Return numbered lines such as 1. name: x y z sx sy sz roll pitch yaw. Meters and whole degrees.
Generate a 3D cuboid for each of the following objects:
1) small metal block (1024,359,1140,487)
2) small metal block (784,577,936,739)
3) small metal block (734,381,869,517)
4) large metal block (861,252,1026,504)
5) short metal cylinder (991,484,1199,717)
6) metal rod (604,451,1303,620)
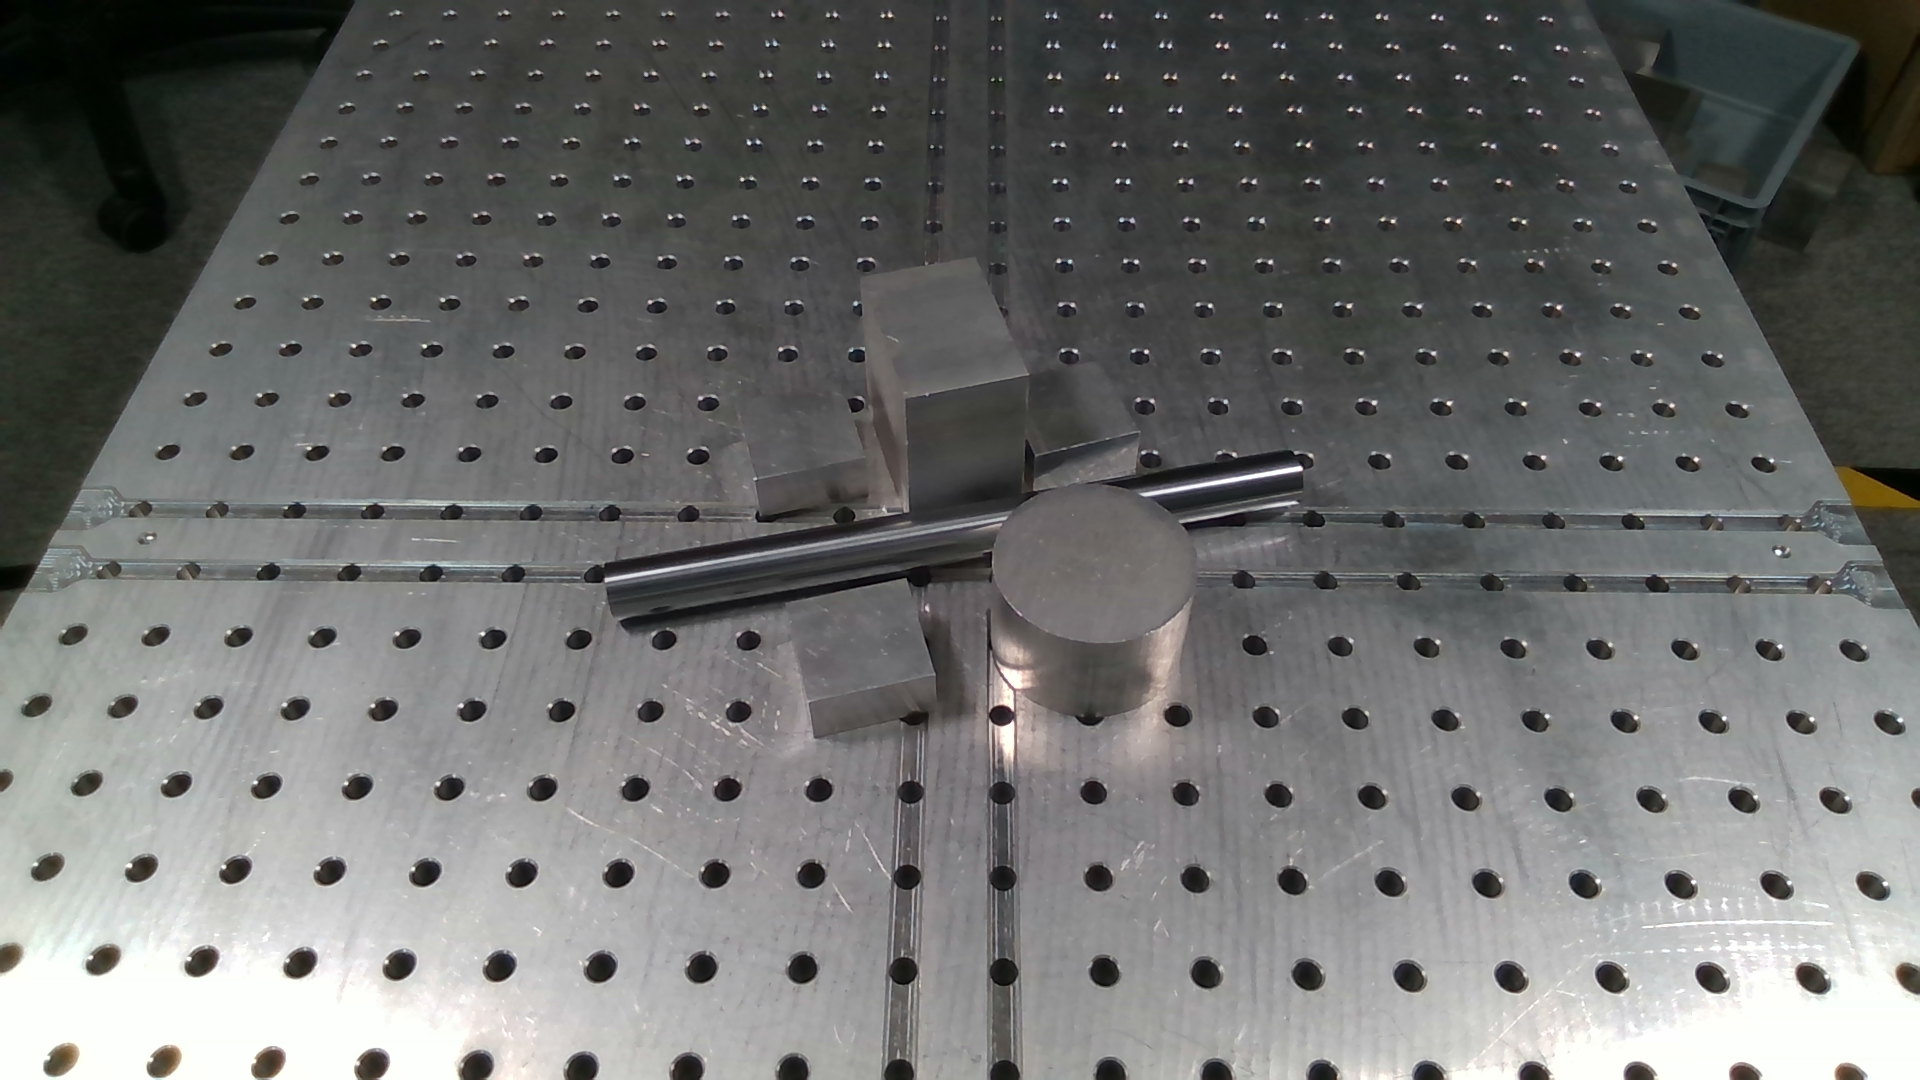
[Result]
1. small metal block: 0.049 -0.053 0.634 0.050 0.025 0.050 -14 51 -11
2. small metal block: -0.040 0.047 0.551 0.050 0.025 0.050 -12 51 -9
3. small metal block: -0.072 -0.042 0.625 0.050 0.025 0.050 -12 51 -10
4. large metal block: -0.008 -0.066 0.608 0.050 0.080 0.080 -12 51 -10
5. short metal cylinder: 0.052 0.024 0.553 0.080 0.050 0.080 0 50 0
6. metal rod: 0.001 -0.003 0.592 0.300 0.025 0.025 -10 51 -8
